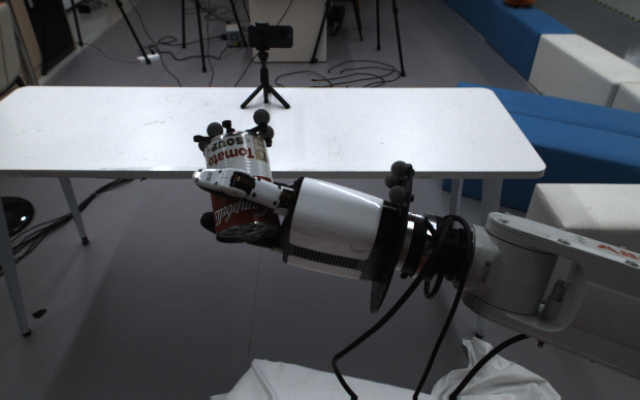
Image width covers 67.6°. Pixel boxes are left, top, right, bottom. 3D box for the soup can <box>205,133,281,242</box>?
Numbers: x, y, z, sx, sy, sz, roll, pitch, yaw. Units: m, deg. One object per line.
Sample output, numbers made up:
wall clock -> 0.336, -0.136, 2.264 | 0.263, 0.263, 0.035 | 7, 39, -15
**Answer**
soup can -> -0.080, -0.013, 0.510 | 0.067, 0.067, 0.101 | -8, 74, -15
